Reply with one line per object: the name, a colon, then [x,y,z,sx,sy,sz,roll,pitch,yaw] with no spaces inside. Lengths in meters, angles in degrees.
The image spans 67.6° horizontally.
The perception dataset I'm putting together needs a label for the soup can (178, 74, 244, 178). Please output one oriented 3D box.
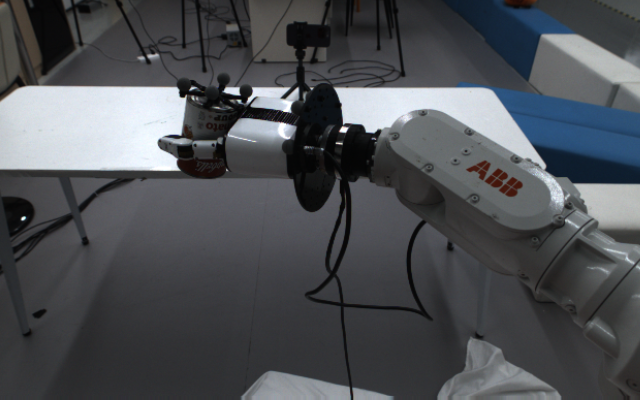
soup can: [-0.150,-0.087,0.643,0.067,0.101,0.067,14,31,-8]
